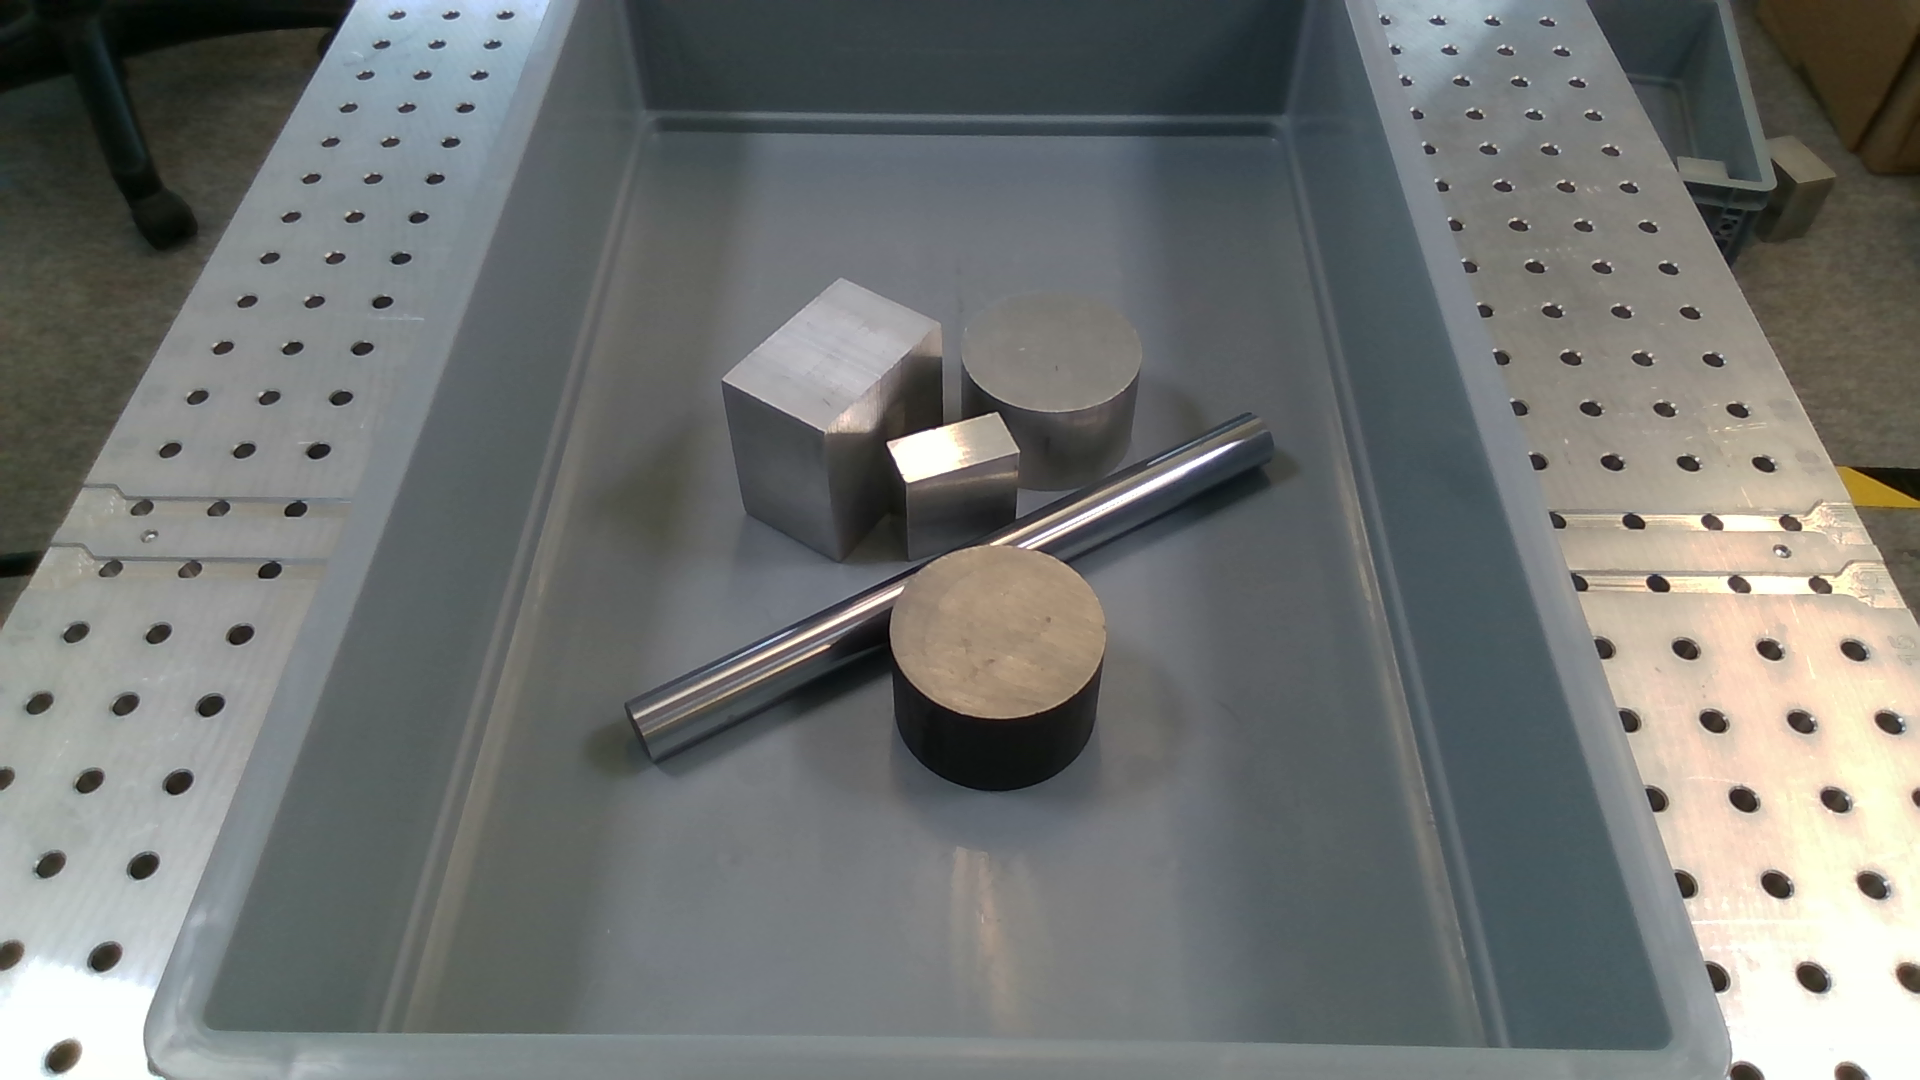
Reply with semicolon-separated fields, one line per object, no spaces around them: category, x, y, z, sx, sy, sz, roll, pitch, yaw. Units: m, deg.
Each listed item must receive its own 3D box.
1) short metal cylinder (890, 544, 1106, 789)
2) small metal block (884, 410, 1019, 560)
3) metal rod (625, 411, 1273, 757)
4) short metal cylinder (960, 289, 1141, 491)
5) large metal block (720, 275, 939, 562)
short metal cylinder;0.014;0.048;0.529;0.080;0.050;0.080;0;50;0
small metal block;-0.003;-0.023;0.588;0.050;0.050;0.025;-17;52;-13
metal rod;0.005;0.012;0.575;0.300;0.025;0.025;-25;54;-19
short metal cylinder;0.040;-0.069;0.627;0.080;0.050;0.080;0;50;0
large metal block;-0.052;-0.052;0.592;0.050;0.080;0.080;27;55;22
